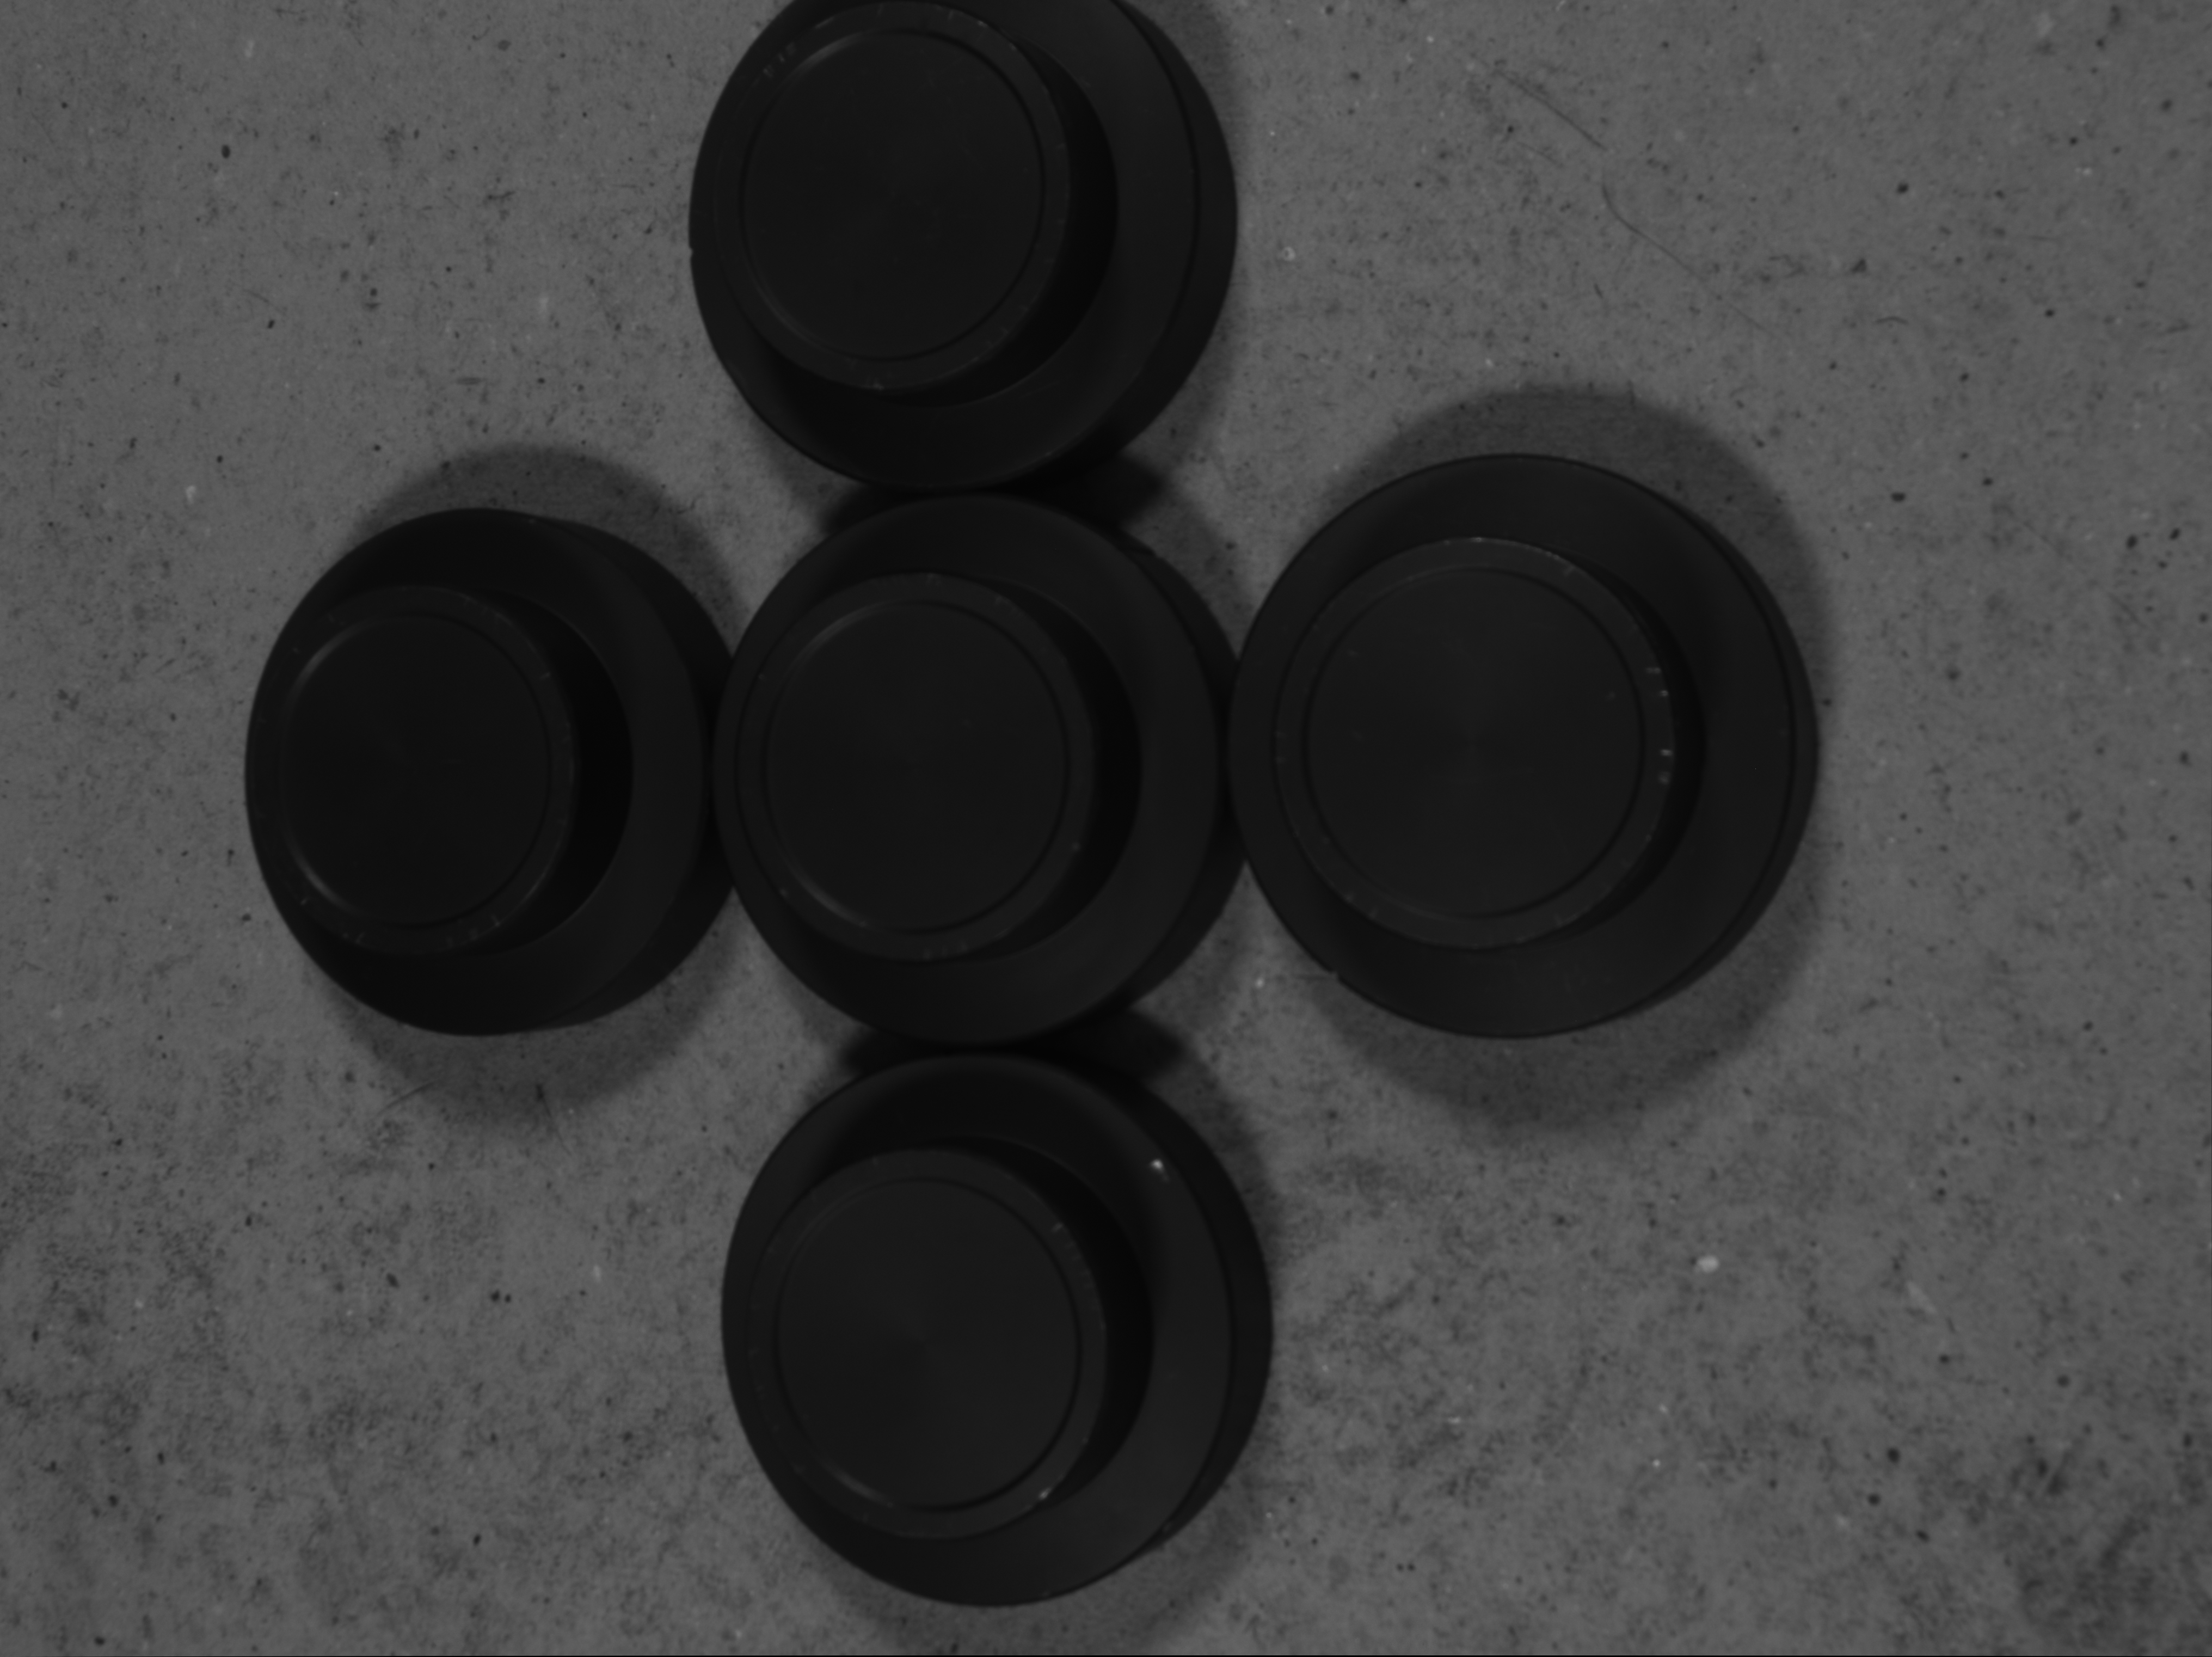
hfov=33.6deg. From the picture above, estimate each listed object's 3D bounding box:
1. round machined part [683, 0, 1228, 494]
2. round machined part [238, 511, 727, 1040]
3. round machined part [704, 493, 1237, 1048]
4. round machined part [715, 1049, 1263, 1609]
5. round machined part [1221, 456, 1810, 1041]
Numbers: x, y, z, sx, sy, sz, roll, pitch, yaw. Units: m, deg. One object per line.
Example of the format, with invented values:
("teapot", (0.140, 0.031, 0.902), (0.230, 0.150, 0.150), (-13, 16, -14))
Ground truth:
("round machined part", (-0.031, -0.108, 0.647), (0.098, 0.042, 0.098), (0, 90, 20))
("round machined part", (-0.119, -0.010, 0.678), (0.098, 0.042, 0.098), (0, 90, 20))
("round machined part", (-0.027, -0.010, 0.645), (0.098, 0.042, 0.098), (0, 90, 20))
("round machined part", (-0.025, 0.088, 0.644), (0.098, 0.042, 0.098), (0, 90, 20))
("round machined part", (0.065, -0.013, 0.612), (0.098, 0.042, 0.098), (0, 90, 20))
